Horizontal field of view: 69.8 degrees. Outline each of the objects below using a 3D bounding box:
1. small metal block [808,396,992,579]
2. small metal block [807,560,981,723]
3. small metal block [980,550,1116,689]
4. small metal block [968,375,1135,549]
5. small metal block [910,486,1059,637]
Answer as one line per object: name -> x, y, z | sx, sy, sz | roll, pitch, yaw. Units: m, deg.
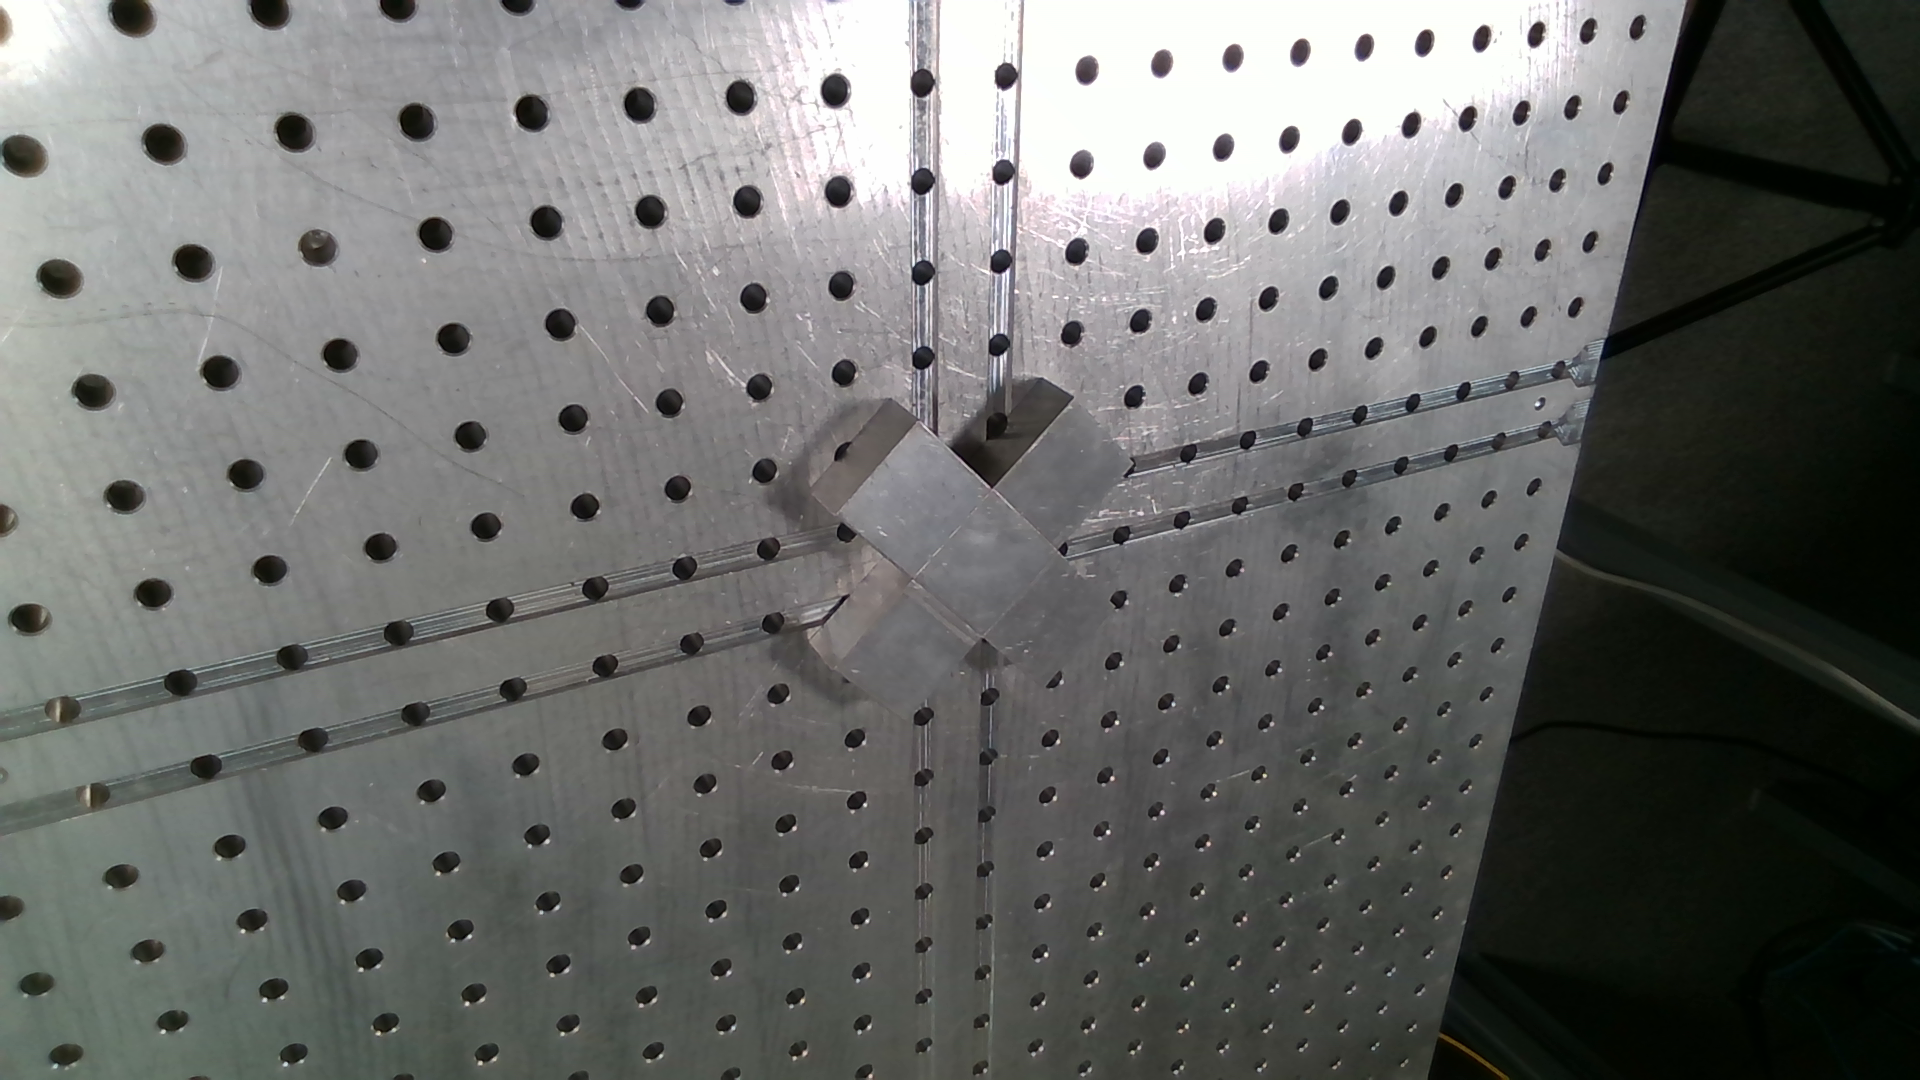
small metal block -> -0.024, -0.021, 0.558 | 0.050, 0.025, 0.050 | -49, 129, 0
small metal block -> -0.028, 0.042, 0.589 | 0.050, 0.025, 0.050 | -48, 129, 0
small metal block -> 0.034, 0.031, 0.621 | 0.050, 0.025, 0.050 | -49, 129, 0
small metal block -> 0.039, -0.033, 0.589 | 0.050, 0.025, 0.050 | -48, 129, 0
small metal block -> 0.006, 0.005, 0.589 | 0.050, 0.025, 0.050 | -49, 129, 0
